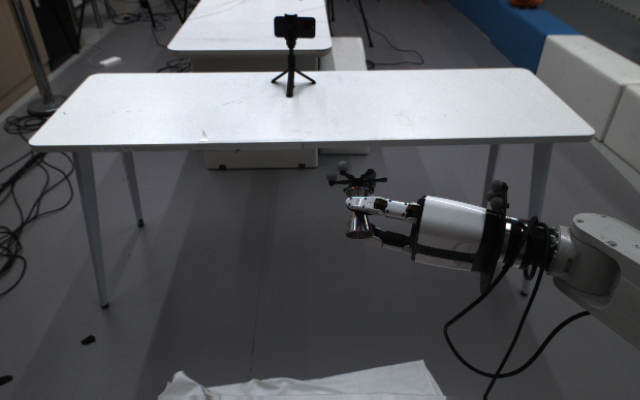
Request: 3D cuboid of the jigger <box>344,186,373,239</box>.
[{"bbox_3d":[0.057,0.018,0.716,0.043,0.043,0.071,1,70,-2],"label":"jigger"}]
